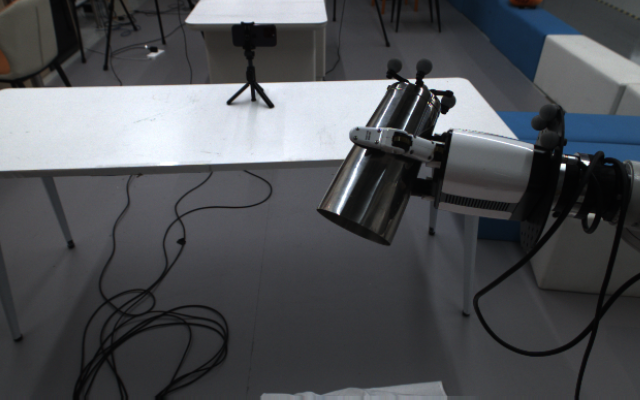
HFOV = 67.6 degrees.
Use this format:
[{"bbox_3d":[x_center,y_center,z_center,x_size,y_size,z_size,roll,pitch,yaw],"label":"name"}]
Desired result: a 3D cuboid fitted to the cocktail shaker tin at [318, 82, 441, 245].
[{"bbox_3d":[0.077,-0.047,0.552,0.093,0.093,0.170,21,81,25],"label":"cocktail shaker tin"}]
